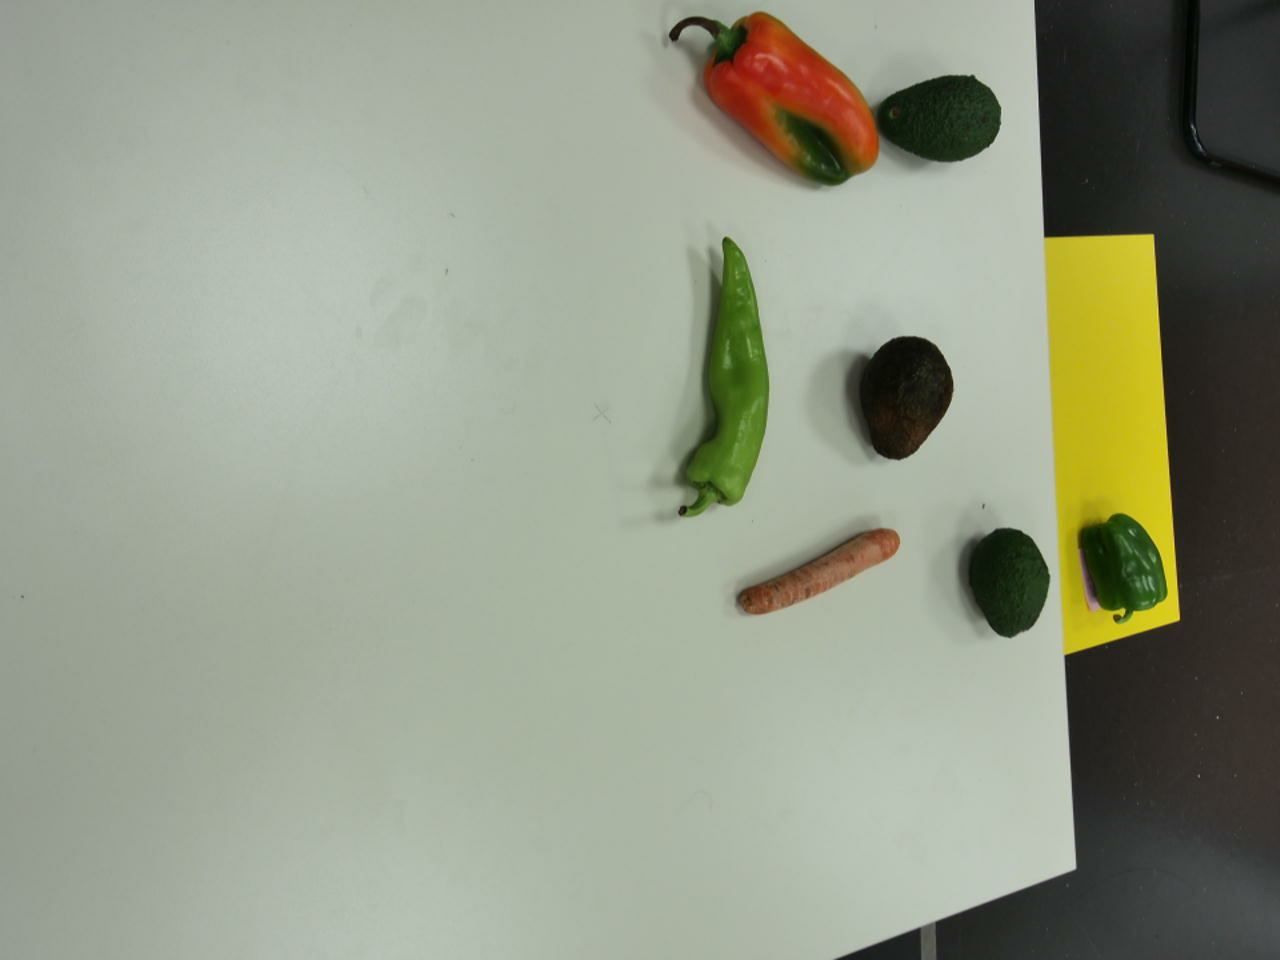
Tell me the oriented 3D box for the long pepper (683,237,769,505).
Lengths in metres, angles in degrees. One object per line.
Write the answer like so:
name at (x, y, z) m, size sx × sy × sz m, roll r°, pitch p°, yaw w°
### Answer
long pepper at (0.072, -0.073, 0.745) m, size 0.065 × 0.045 × 0.204 m, roll 12°, pitch 84°, yaw -27°
